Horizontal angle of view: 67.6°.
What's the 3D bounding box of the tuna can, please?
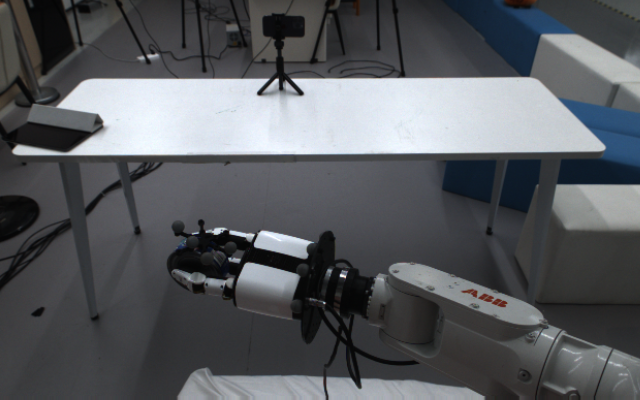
[{"bbox_3d":[-0.177,0.098,0.711,0.085,0.085,0.034,9,34,10],"label":"tuna can"}]
